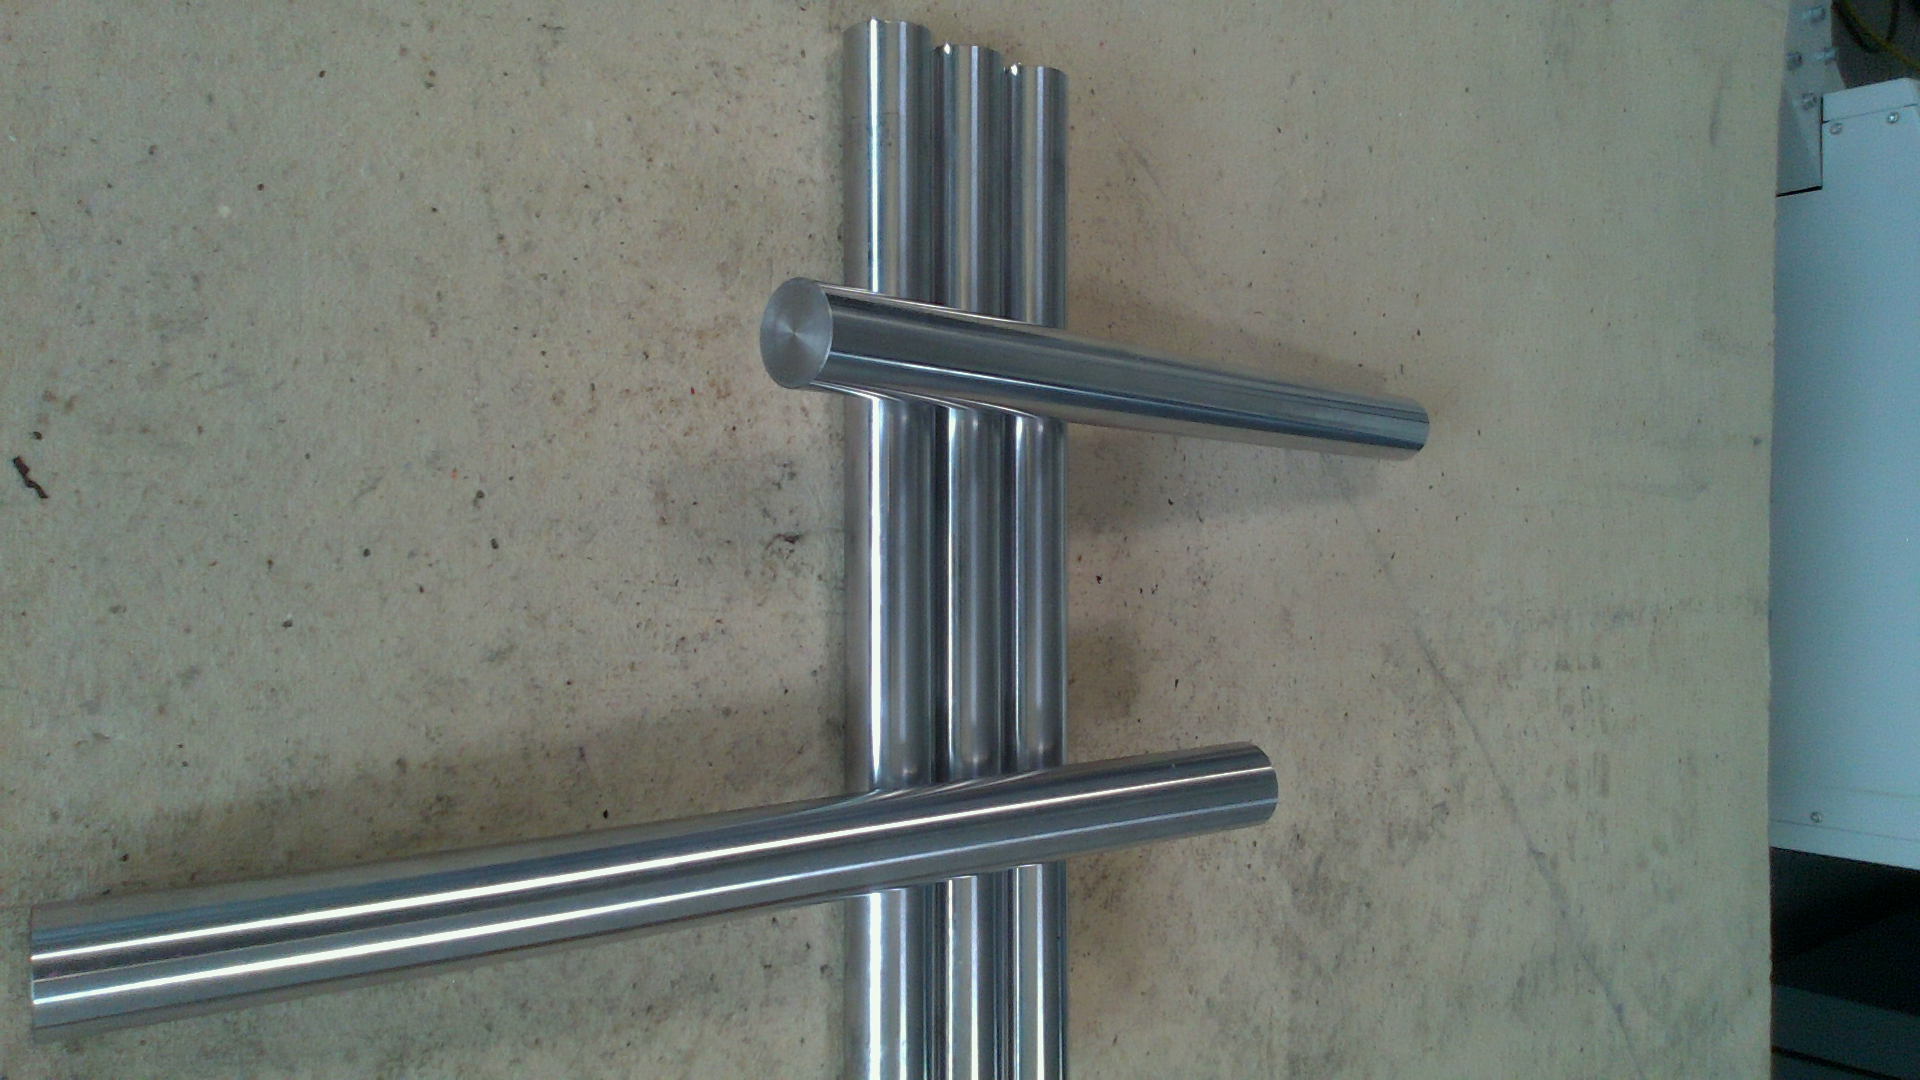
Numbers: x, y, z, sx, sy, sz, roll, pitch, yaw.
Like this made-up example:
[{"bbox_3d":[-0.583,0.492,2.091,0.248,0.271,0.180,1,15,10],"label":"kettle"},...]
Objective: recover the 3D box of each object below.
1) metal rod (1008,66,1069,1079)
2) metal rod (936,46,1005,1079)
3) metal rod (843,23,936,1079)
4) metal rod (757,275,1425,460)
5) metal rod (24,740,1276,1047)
[{"bbox_3d":[0.019,0.015,0.404,0.025,0.025,0.300,0,90,-40],"label":"metal rod"},{"bbox_3d":[0.000,0.015,0.388,0.025,0.025,0.300,0,90,-40],"label":"metal rod"},{"bbox_3d":[-0.019,0.015,0.372,0.025,0.025,0.300,0,90,-40],"label":"metal rod"},{"bbox_3d":[0.065,-0.045,0.418,0.301,0.025,0.025,1,89,-47],"label":"metal rod"},{"bbox_3d":[-0.041,0.075,0.329,0.301,0.025,0.025,-1,91,-33],"label":"metal rod"}]
